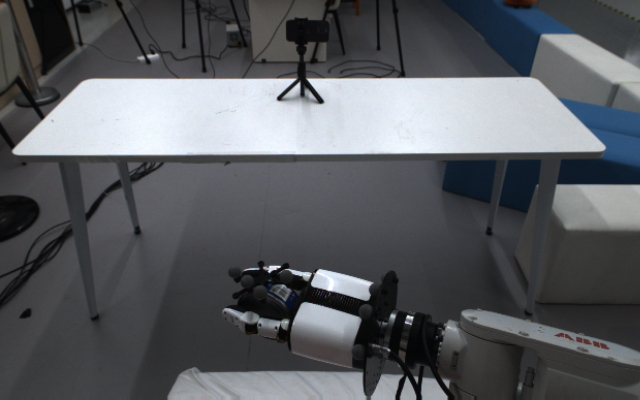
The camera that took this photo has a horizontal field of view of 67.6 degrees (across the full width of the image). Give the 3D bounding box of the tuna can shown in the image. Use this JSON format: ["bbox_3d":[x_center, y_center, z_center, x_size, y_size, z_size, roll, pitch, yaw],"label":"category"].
[{"bbox_3d":[-0.065,0.149,0.662,0.085,0.085,0.034,14,34,17],"label":"tuna can"}]
